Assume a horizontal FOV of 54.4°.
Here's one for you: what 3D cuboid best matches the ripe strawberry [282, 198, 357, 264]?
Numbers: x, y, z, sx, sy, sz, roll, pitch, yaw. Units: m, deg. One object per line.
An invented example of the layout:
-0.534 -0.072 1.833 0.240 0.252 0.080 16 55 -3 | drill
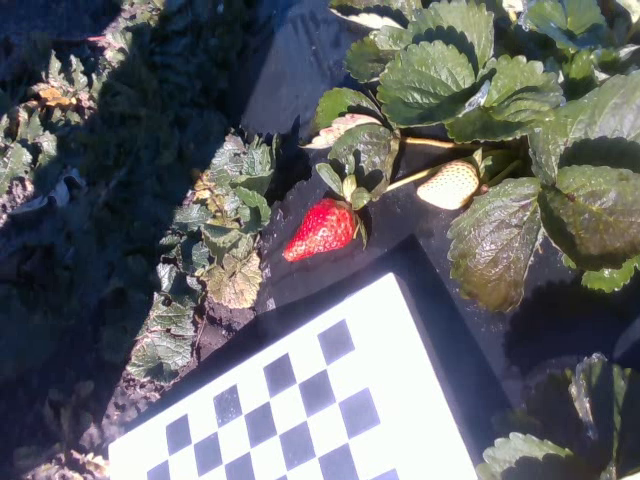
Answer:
-0.003 -0.005 0.441 0.048 0.068 0.040 49 6 40 | ripe strawberry
